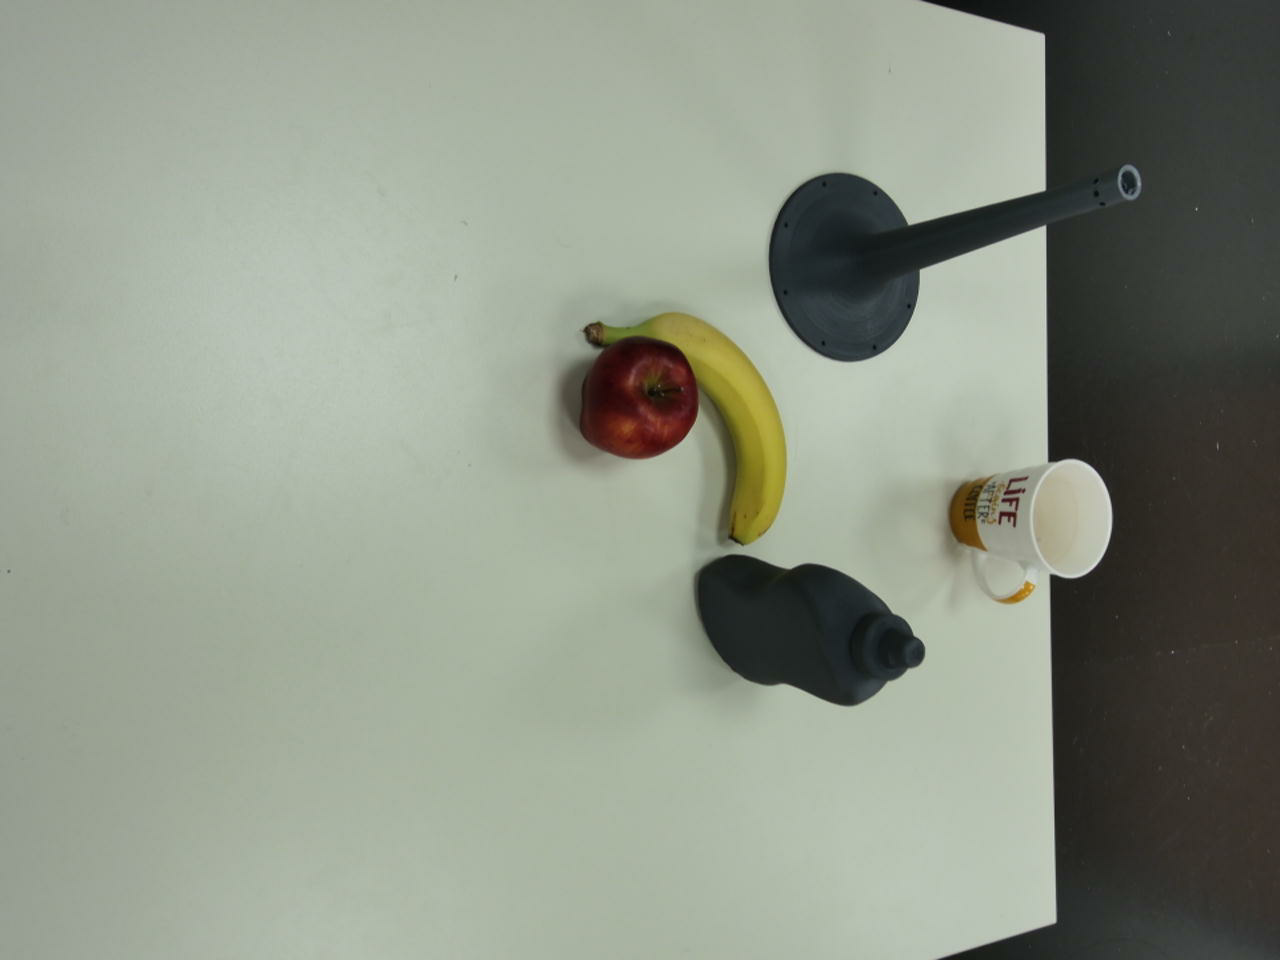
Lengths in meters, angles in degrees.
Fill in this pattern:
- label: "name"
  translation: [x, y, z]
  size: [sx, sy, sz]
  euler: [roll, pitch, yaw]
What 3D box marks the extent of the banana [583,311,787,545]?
- label: "banana"
  translation: [0.053, -0.053, 0.727]
  size: [0.094, 0.041, 0.196]
  euler: [-40, 108, -22]
